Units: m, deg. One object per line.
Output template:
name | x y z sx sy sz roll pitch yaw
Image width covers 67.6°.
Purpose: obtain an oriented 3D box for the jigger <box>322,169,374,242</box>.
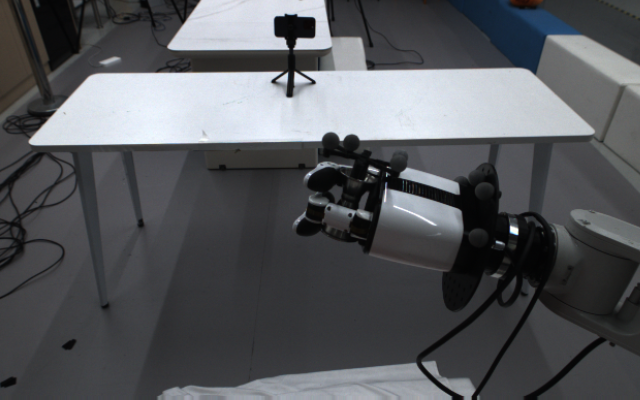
jigger | 0.033 0.004 0.514 0.043 0.071 0.043 15 17 -5
